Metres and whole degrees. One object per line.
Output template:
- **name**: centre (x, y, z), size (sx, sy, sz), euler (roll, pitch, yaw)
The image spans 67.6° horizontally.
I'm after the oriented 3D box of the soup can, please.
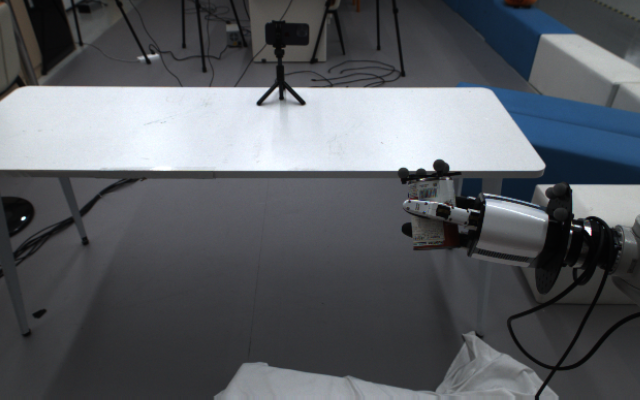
- **soup can**: centre (0.168, 0.020, 0.709), size (0.067, 0.101, 0.067), euler (-5, -5, 0)
